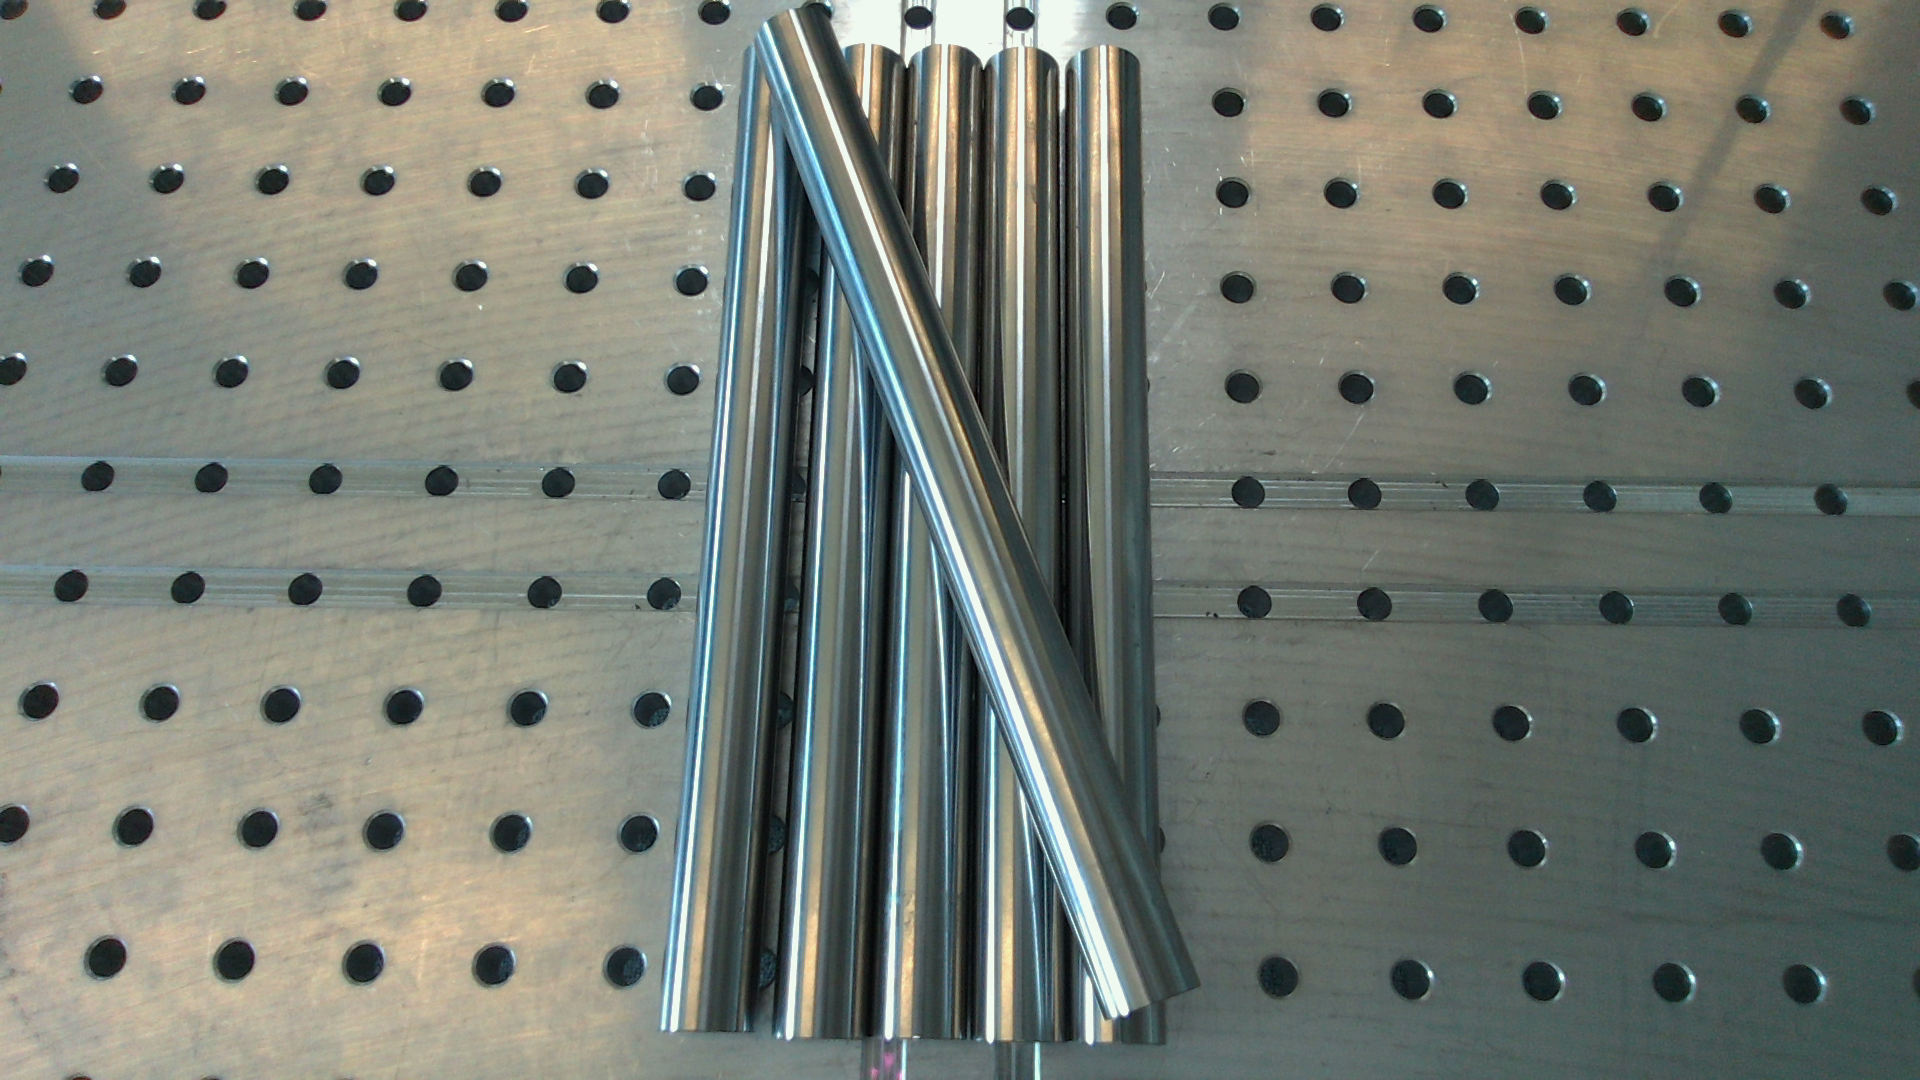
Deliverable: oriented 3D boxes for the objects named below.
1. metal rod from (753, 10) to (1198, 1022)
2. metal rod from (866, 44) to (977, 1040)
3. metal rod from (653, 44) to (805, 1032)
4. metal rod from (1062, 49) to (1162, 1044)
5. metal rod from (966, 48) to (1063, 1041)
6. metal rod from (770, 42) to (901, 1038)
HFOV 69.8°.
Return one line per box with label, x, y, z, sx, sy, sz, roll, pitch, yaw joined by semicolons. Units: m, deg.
metal rod;-0.003;-0.022;0.378;0.025;0.025;0.300;-18;71;-6
metal rod;-0.009;-0.014;0.401;0.025;0.025;0.300;1;70;0
metal rod;-0.063;-0.016;0.402;0.025;0.025;0.300;1;70;0
metal rod;0.042;-0.013;0.402;0.025;0.025;0.300;1;70;1
metal rod;0.016;-0.013;0.403;0.025;0.025;0.300;1;70;0
metal rod;-0.033;-0.015;0.401;0.025;0.025;0.300;1;70;0
